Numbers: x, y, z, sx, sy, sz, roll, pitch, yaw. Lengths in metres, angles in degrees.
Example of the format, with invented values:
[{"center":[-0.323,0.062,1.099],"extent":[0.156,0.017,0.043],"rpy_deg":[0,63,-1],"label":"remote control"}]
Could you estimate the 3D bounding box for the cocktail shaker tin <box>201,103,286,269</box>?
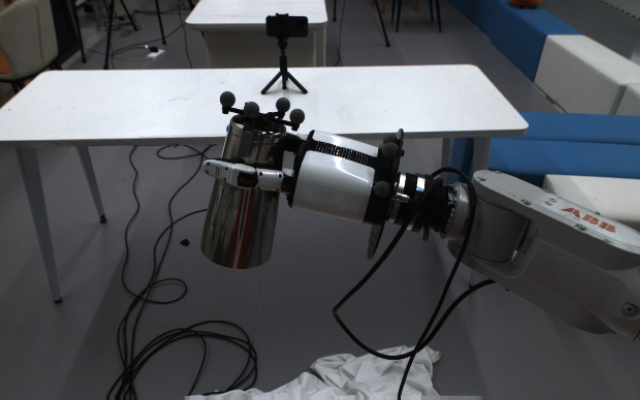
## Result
[{"center":[-0.086,-0.014,0.591],"extent":[0.093,0.170,0.093],"rpy_deg":[12,25,-6],"label":"cocktail shaker tin"}]
